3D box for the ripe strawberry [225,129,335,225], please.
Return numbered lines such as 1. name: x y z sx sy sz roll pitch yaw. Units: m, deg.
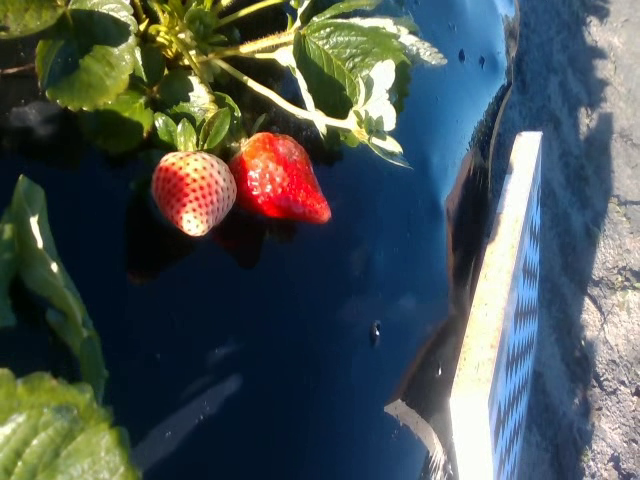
1. ripe strawberry: -0.010 -0.022 0.246 0.055 0.040 0.038 34 -16 32
